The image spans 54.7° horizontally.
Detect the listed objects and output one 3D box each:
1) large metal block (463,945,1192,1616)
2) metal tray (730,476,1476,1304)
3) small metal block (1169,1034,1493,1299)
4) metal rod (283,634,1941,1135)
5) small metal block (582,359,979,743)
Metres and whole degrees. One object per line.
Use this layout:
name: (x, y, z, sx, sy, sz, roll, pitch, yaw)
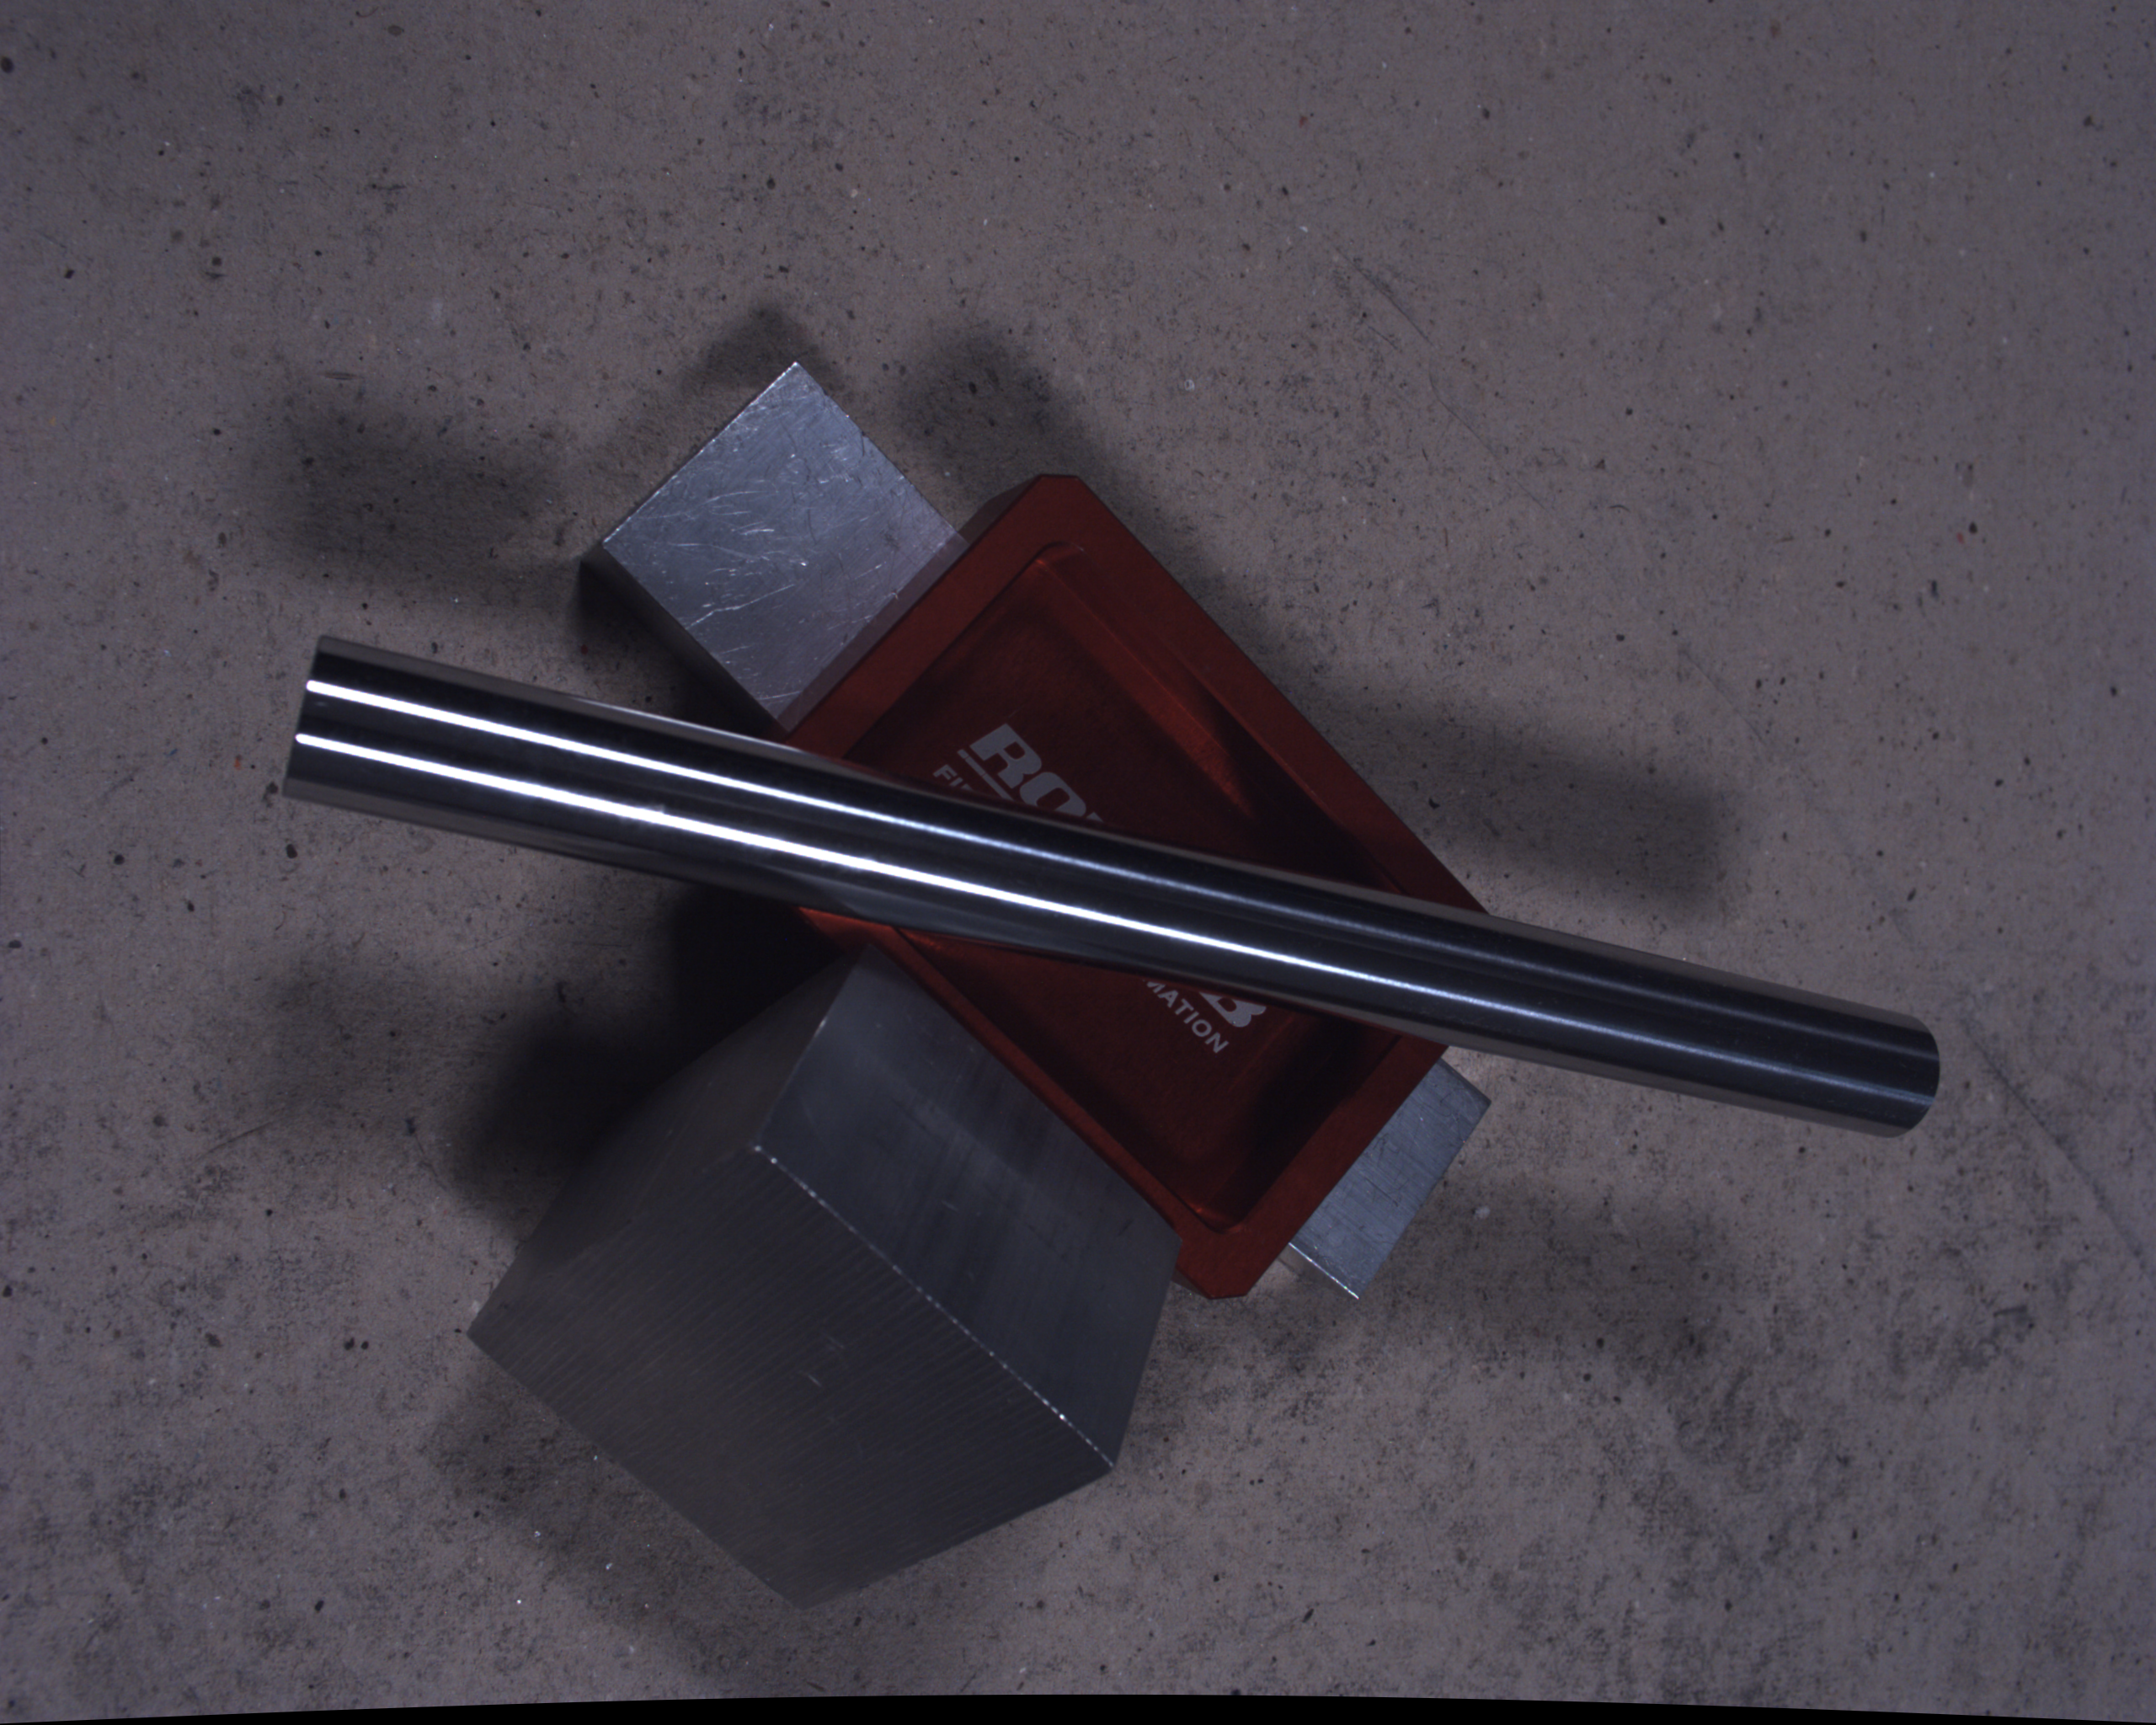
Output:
large metal block: (-0.042, 0.074, 0.357, 0.080, 0.080, 0.050, 45, 34, -15)
metal tray: (0.007, 0.006, 0.384, 0.130, 0.030, 0.090, 46, 76, -15)
small metal block: (0.048, 0.053, 0.429, 0.050, 0.025, 0.050, 40, 77, -16)
metal rod: (0.023, 0.010, 0.361, 0.302, 0.025, 0.025, 13, 86, -20)
small metal block: (-0.055, -0.056, 0.390, 0.050, 0.025, 0.050, 47, 75, -15)
